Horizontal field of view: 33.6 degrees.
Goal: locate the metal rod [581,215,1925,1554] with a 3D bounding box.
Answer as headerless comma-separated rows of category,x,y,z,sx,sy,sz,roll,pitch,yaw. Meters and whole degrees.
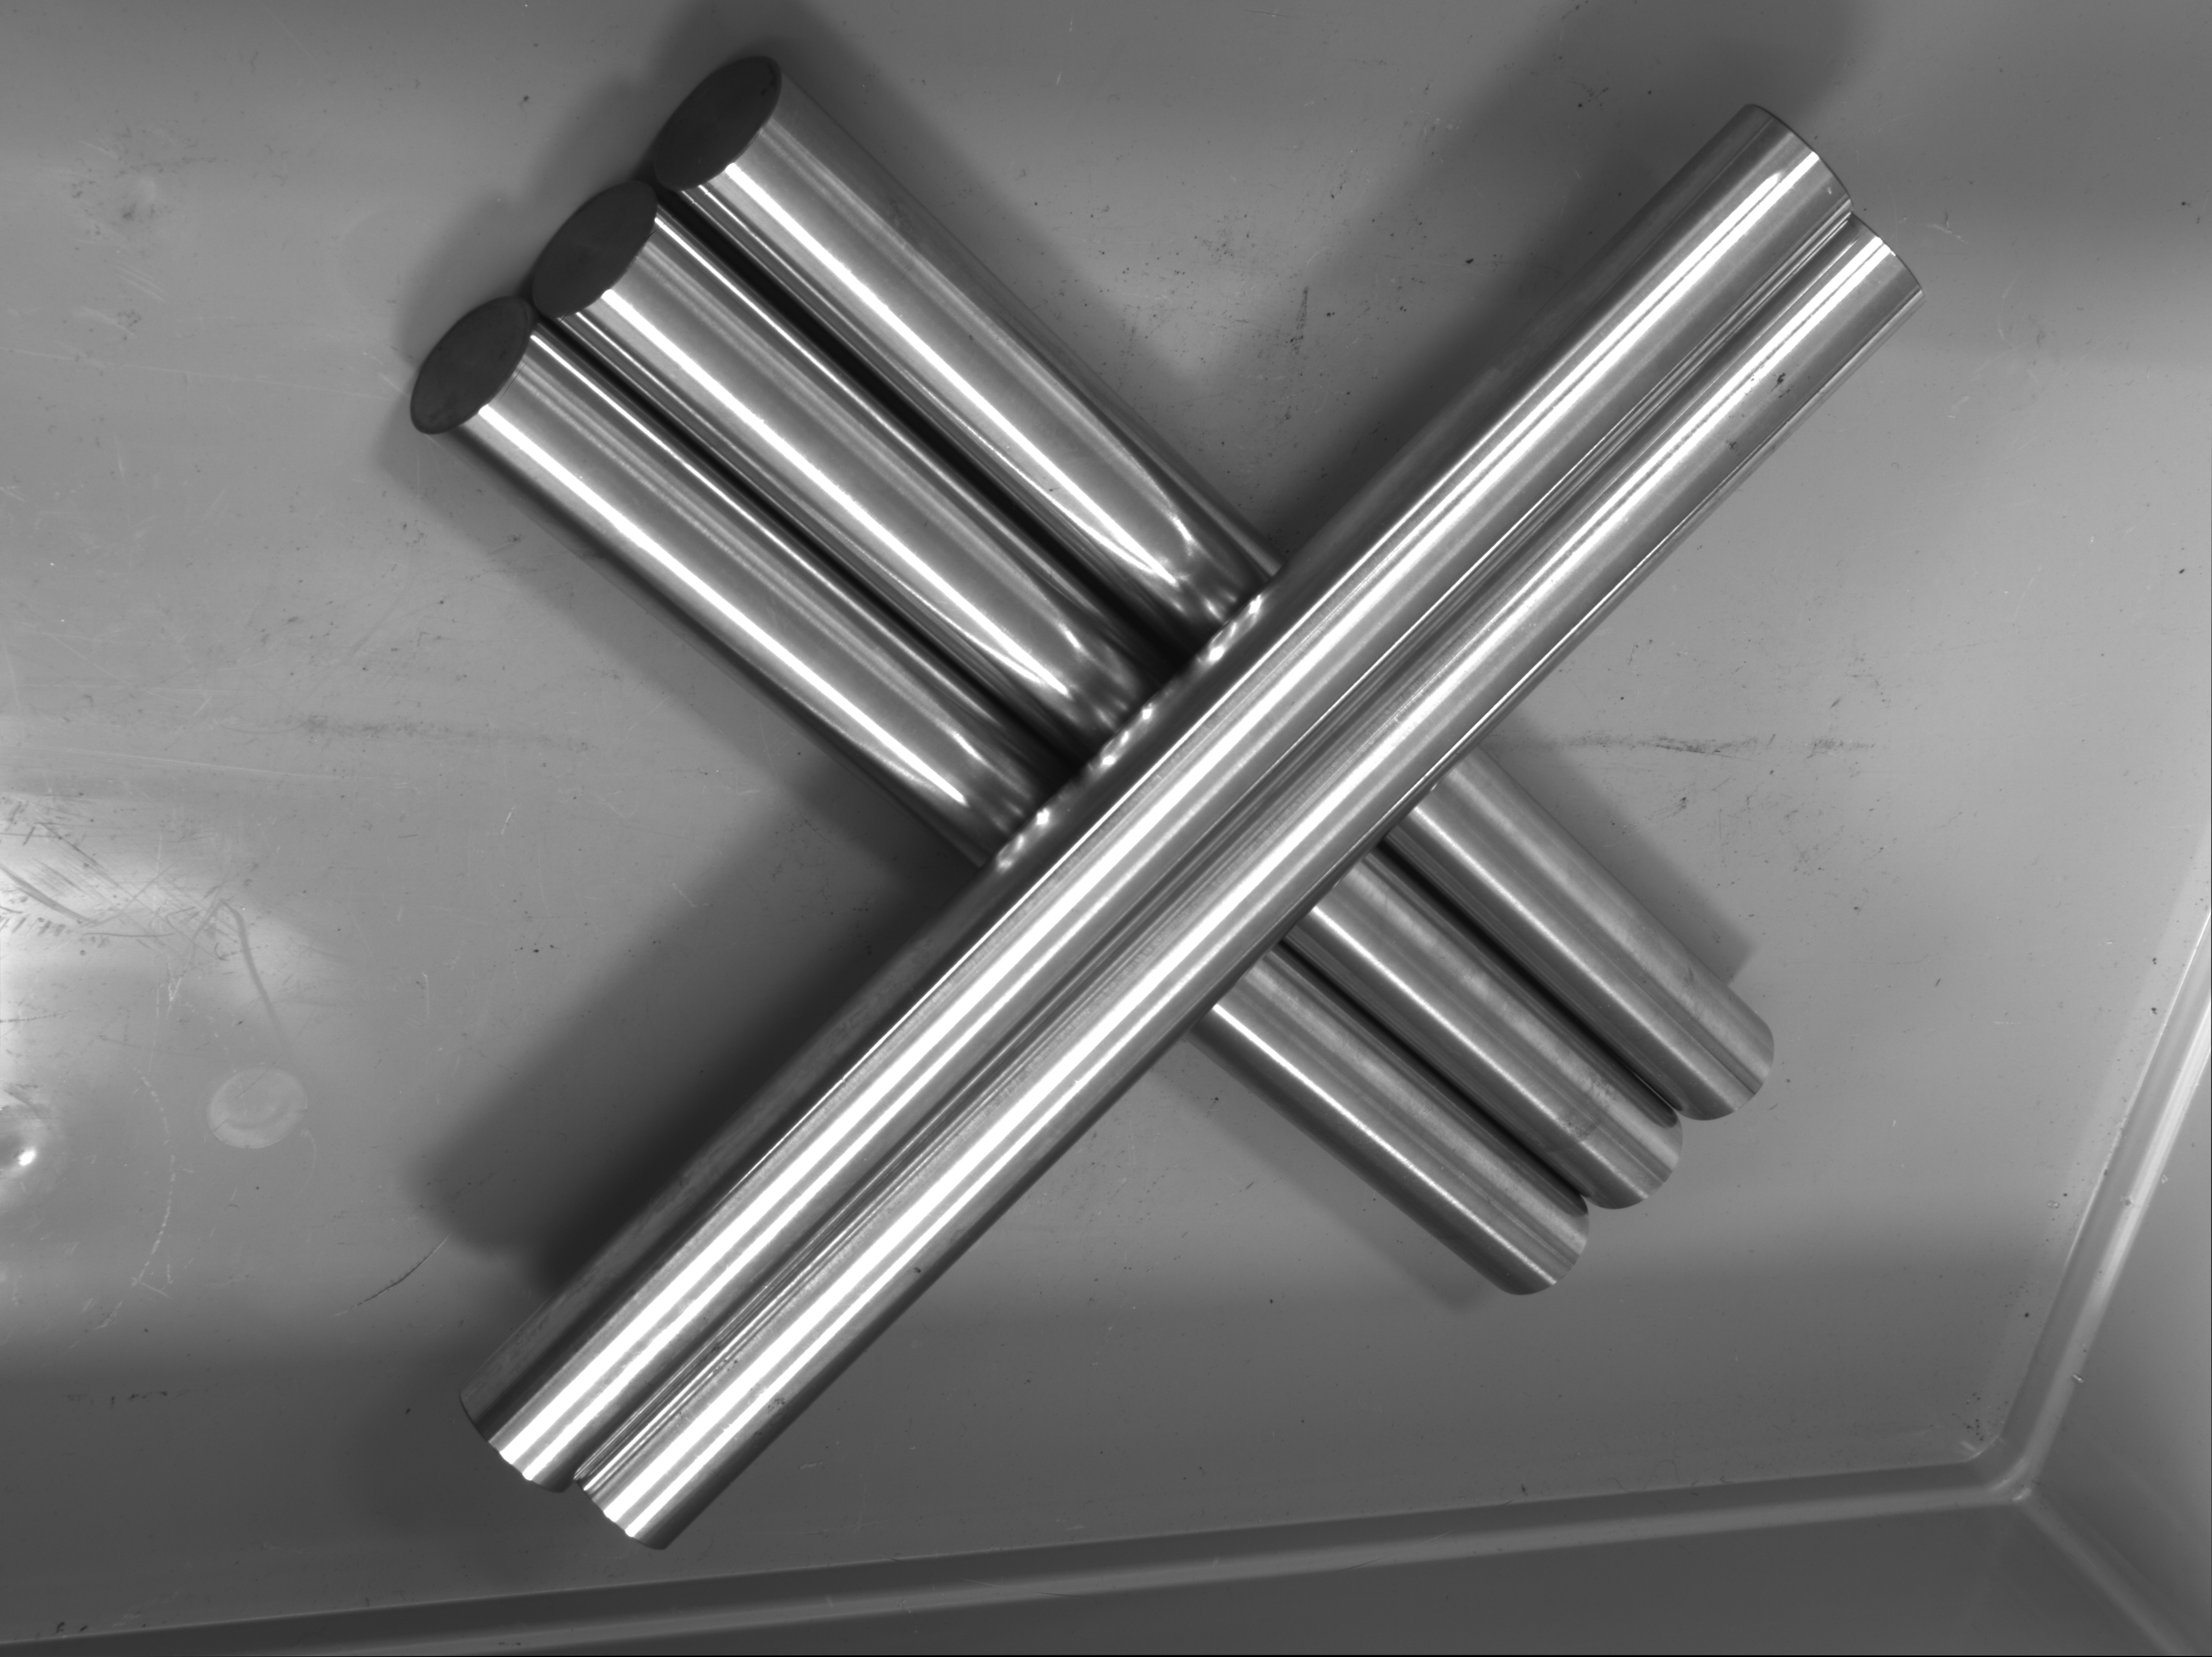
metal rod,0.022,0.009,0.621,0.300,0.025,0.025,-45,129,3

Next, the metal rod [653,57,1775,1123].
metal rod,0.032,-0.028,0.636,0.025,0.025,0.301,-47,129,4

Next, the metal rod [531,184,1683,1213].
metal rod,0.014,-0.010,0.637,0.025,0.025,0.301,-47,129,4

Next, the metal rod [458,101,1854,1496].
metal rod,0.007,-0.004,0.605,0.300,0.025,0.025,-45,129,3

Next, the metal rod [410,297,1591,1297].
metal rod,-0.004,0.007,0.638,0.025,0.025,0.301,-47,129,4
